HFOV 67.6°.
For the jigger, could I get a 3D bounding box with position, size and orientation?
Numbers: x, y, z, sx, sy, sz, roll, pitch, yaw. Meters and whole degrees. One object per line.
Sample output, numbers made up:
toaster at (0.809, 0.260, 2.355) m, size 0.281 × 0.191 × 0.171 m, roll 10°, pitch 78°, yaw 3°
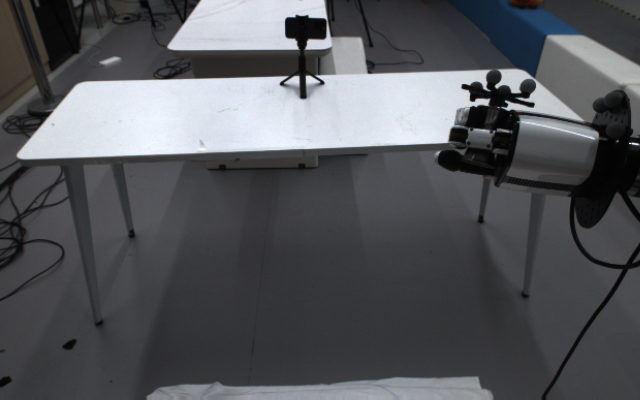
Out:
jigger at (0.201, -0.076, 0.586) m, size 0.043 × 0.071 × 0.043 m, roll 17°, pitch 2°, yaw -1°
